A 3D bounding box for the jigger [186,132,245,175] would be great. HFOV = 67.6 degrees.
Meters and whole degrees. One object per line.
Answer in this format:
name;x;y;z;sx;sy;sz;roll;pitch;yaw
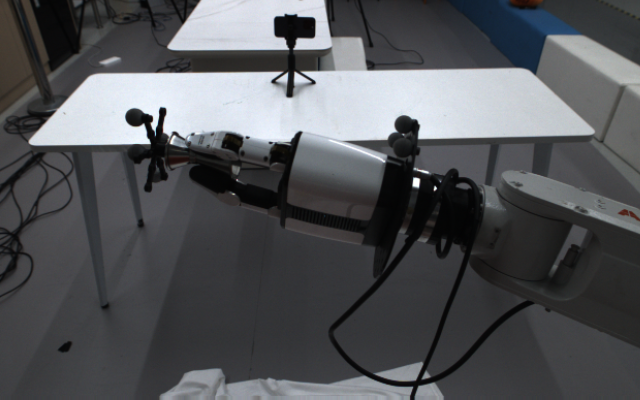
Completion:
jigger;-0.109;-0.049;0.495;0.071;0.043;0.043;6;35;2
